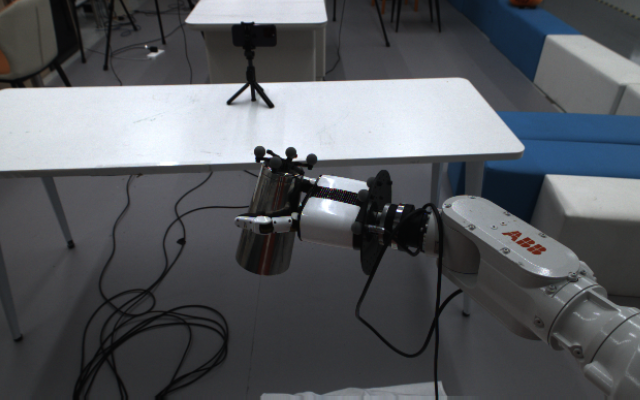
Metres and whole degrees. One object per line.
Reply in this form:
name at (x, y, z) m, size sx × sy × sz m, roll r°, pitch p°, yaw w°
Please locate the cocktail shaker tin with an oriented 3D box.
cocktail shaker tin at (-0.074, 0.023, 0.771) m, size 0.093 × 0.170 × 0.093 m, roll 12°, pitch 24°, yaw -5°
